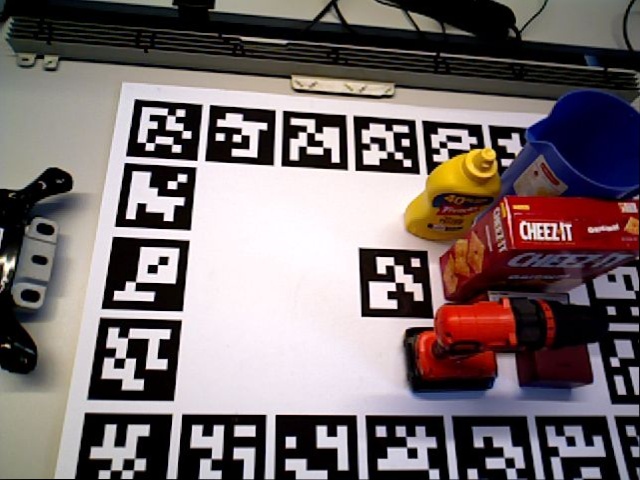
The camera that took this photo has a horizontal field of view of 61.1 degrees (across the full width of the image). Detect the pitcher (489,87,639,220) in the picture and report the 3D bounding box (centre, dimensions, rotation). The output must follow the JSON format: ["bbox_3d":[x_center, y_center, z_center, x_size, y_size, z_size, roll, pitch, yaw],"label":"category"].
[{"bbox_3d":[0.323,-0.064,0.691,0.188,0.247,0.132,8,66,-2],"label":"pitcher"}]

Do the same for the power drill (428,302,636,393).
[{"bbox_3d":[0.210,0.121,0.592,0.183,0.191,0.057,2,63,-7],"label":"power drill"}]

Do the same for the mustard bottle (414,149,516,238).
[{"bbox_3d":[0.191,-0.066,0.688,0.096,0.195,0.057,16,67,-1],"label":"mustard bottle"}]

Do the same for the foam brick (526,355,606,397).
[{"bbox_3d":[0.313,0.171,0.697,0.077,0.052,0.052,5,69,-5],"label":"foam brick"}]

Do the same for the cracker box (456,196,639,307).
[{"bbox_3d":[0.276,0.030,0.654,0.163,0.217,0.071,1,65,-5],"label":"cracker box"}]

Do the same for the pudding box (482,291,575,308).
[{"bbox_3d":[0.261,0.096,0.685,0.113,0.091,0.038,3,65,-3],"label":"pudding box"}]
